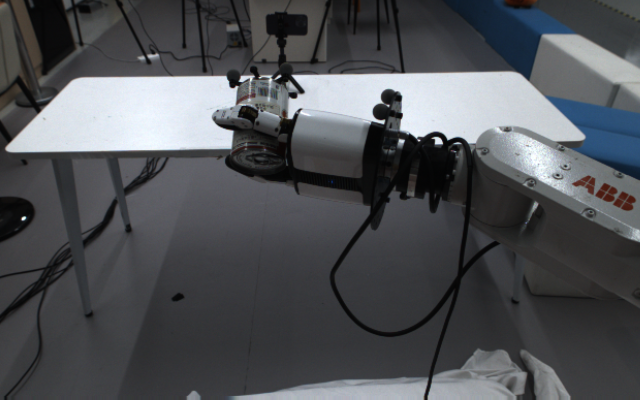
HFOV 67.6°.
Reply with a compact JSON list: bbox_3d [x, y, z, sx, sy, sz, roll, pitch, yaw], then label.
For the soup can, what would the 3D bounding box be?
[{"bbox_3d":[-0.072,-0.090,0.594,0.067,0.067,0.101,1,68,-1],"label":"soup can"}]
